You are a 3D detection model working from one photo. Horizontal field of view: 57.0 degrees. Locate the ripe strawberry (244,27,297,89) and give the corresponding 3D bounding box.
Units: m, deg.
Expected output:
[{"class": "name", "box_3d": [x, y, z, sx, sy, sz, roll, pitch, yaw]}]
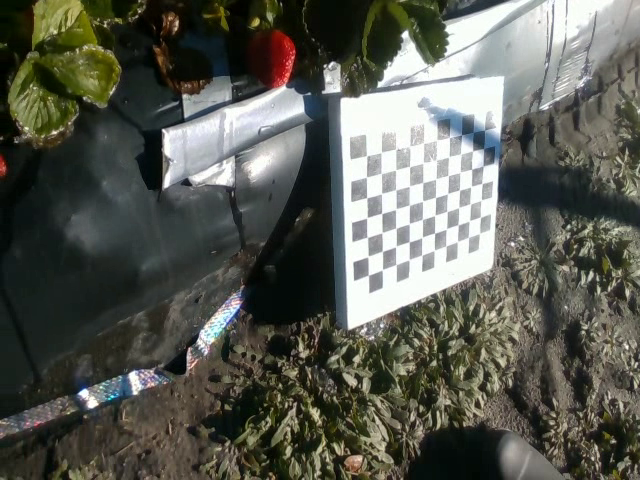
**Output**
[{"class": "ripe strawberry", "box_3d": [-0.045, -0.175, 0.593, 0.057, 0.065, 0.061, -33, -37, 29]}]
